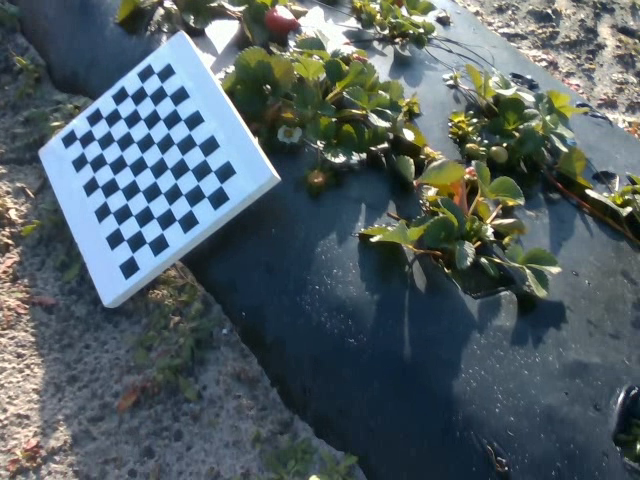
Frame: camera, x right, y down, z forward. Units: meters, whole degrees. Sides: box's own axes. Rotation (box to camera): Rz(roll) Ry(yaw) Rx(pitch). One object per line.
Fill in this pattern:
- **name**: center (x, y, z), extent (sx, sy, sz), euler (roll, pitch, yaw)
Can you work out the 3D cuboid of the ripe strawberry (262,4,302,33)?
- **ripe strawberry**: center (-0.069, -0.350, 1.021), extent (0.072, 0.057, 0.055), euler (27, -3, 38)
